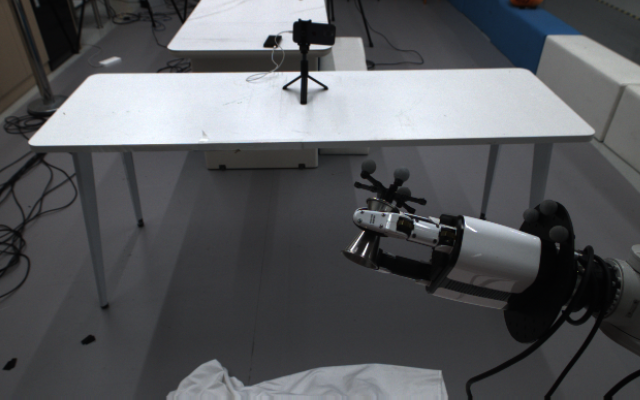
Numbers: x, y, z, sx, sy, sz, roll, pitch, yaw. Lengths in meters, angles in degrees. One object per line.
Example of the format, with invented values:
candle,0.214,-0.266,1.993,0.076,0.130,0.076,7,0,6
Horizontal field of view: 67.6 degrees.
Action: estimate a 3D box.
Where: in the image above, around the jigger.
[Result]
jigger,0.056,0.034,0.532,0.043,0.043,0.071,19,72,23
